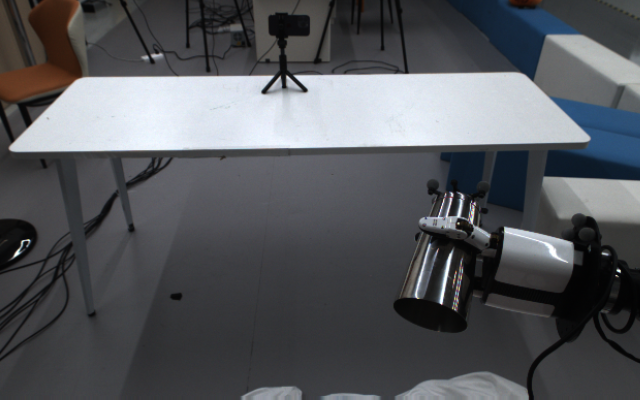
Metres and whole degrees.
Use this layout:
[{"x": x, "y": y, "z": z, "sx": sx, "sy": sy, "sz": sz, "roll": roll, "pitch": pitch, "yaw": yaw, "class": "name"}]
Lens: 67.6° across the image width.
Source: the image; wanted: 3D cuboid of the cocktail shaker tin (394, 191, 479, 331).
[{"x": 0.162, "y": 0.072, "z": 0.632, "sx": 0.093, "sy": 0.093, "sz": 0.170, "roll": 14, "pitch": 56, "yaw": 16, "class": "cocktail shaker tin"}]
